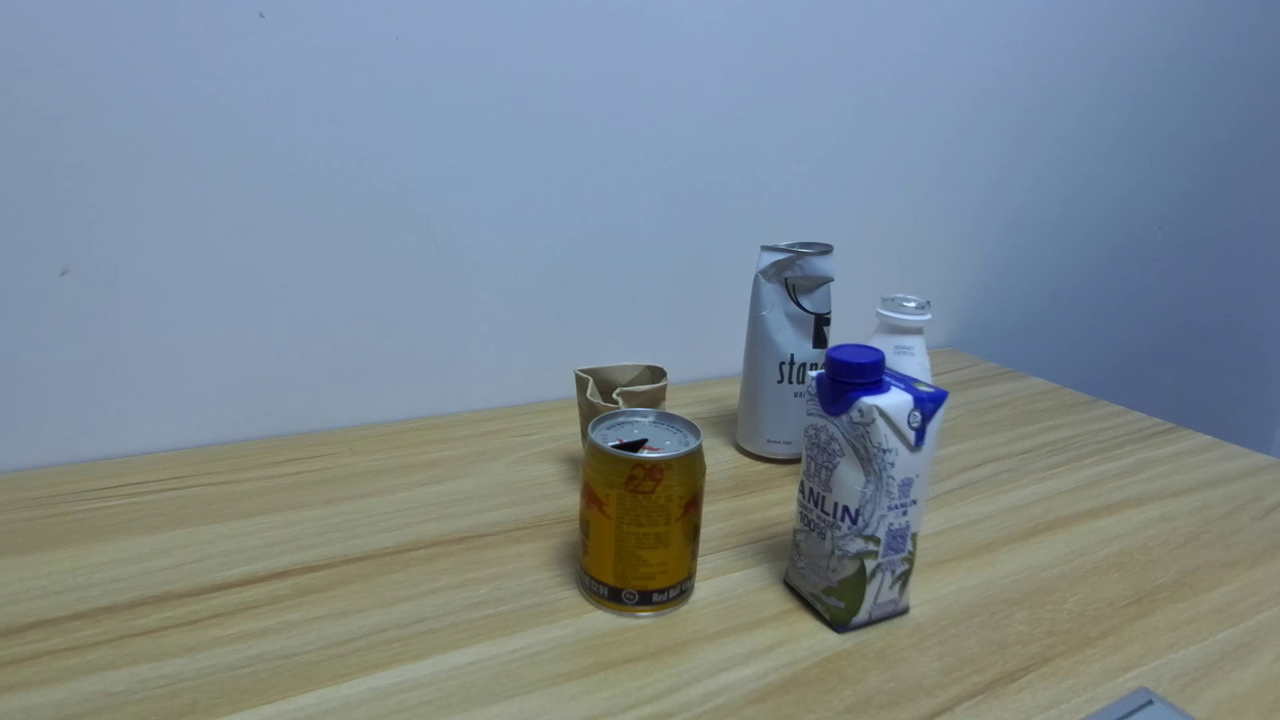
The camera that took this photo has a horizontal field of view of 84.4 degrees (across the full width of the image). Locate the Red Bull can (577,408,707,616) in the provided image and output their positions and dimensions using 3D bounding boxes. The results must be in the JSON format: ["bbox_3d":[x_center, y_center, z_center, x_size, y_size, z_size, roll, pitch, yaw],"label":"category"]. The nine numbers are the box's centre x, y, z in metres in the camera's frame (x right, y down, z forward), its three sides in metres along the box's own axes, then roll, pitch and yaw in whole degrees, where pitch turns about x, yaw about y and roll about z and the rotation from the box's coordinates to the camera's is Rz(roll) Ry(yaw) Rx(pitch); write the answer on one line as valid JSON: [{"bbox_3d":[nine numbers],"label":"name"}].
[{"bbox_3d":[0.001,0.080,0.380,0.067,0.093,0.067,4,18,-1],"label":"Red Bull can"}]

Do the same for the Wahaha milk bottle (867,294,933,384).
[{"bbox_3d":[0.167,0.029,0.471,0.055,0.149,0.055,1,25,0],"label":"Wahaha milk bottle"}]

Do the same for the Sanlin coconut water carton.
[{"bbox_3d":[0.115,0.063,0.370,0.061,0.144,0.060,-5,19,-26],"label":"Sanlin coconut water carton"}]

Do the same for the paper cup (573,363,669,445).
[{"bbox_3d":[-0.006,0.051,0.482,0.067,0.083,0.058,-6,23,-20],"label":"paper cup"}]

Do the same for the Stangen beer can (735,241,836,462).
[{"bbox_3d":[0.113,-0.006,0.543,0.066,0.166,0.066,4,18,7],"label":"Stangen beer can"}]
